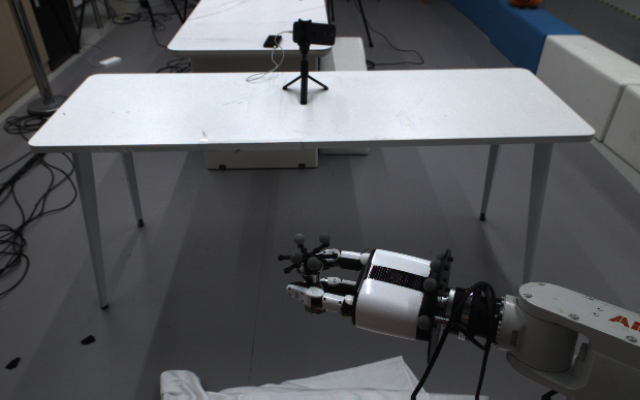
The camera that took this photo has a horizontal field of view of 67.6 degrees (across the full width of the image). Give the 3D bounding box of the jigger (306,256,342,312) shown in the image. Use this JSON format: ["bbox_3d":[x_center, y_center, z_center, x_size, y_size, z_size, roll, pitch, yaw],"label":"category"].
[{"bbox_3d":[-0.006,0.124,0.712,0.043,0.071,0.043,-11,23,5],"label":"jigger"}]
